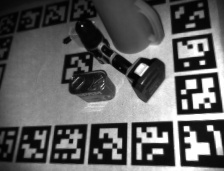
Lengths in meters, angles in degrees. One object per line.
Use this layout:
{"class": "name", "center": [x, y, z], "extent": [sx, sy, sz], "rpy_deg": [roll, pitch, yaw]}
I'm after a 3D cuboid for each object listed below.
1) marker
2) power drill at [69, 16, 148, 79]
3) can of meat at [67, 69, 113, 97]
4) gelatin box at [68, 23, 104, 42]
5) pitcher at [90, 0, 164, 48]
{"class": "marker", "center": [-0.122, -0.194, 0.704], "extent": [0.121, 0.020, 0.019], "rpy_deg": [-32, 64, 7]}
{"class": "power drill", "center": [-0.007, -0.092, 0.539], "extent": [0.185, 0.186, 0.057], "rpy_deg": [31, 87, 20]}
{"class": "can of meat", "center": [-0.056, -0.009, 0.579], "extent": [0.101, 0.084, 0.057], "rpy_deg": [-8, 67, 17]}
{"class": "gelatin box", "center": [-0.079, -0.157, 0.649], "extent": [0.088, 0.074, 0.030], "rpy_deg": [4, 77, 19]}
{"class": "pitcher", "center": [0.031, -0.202, 0.539], "extent": [0.186, 0.246, 0.133], "rpy_deg": [27, 86, 32]}
